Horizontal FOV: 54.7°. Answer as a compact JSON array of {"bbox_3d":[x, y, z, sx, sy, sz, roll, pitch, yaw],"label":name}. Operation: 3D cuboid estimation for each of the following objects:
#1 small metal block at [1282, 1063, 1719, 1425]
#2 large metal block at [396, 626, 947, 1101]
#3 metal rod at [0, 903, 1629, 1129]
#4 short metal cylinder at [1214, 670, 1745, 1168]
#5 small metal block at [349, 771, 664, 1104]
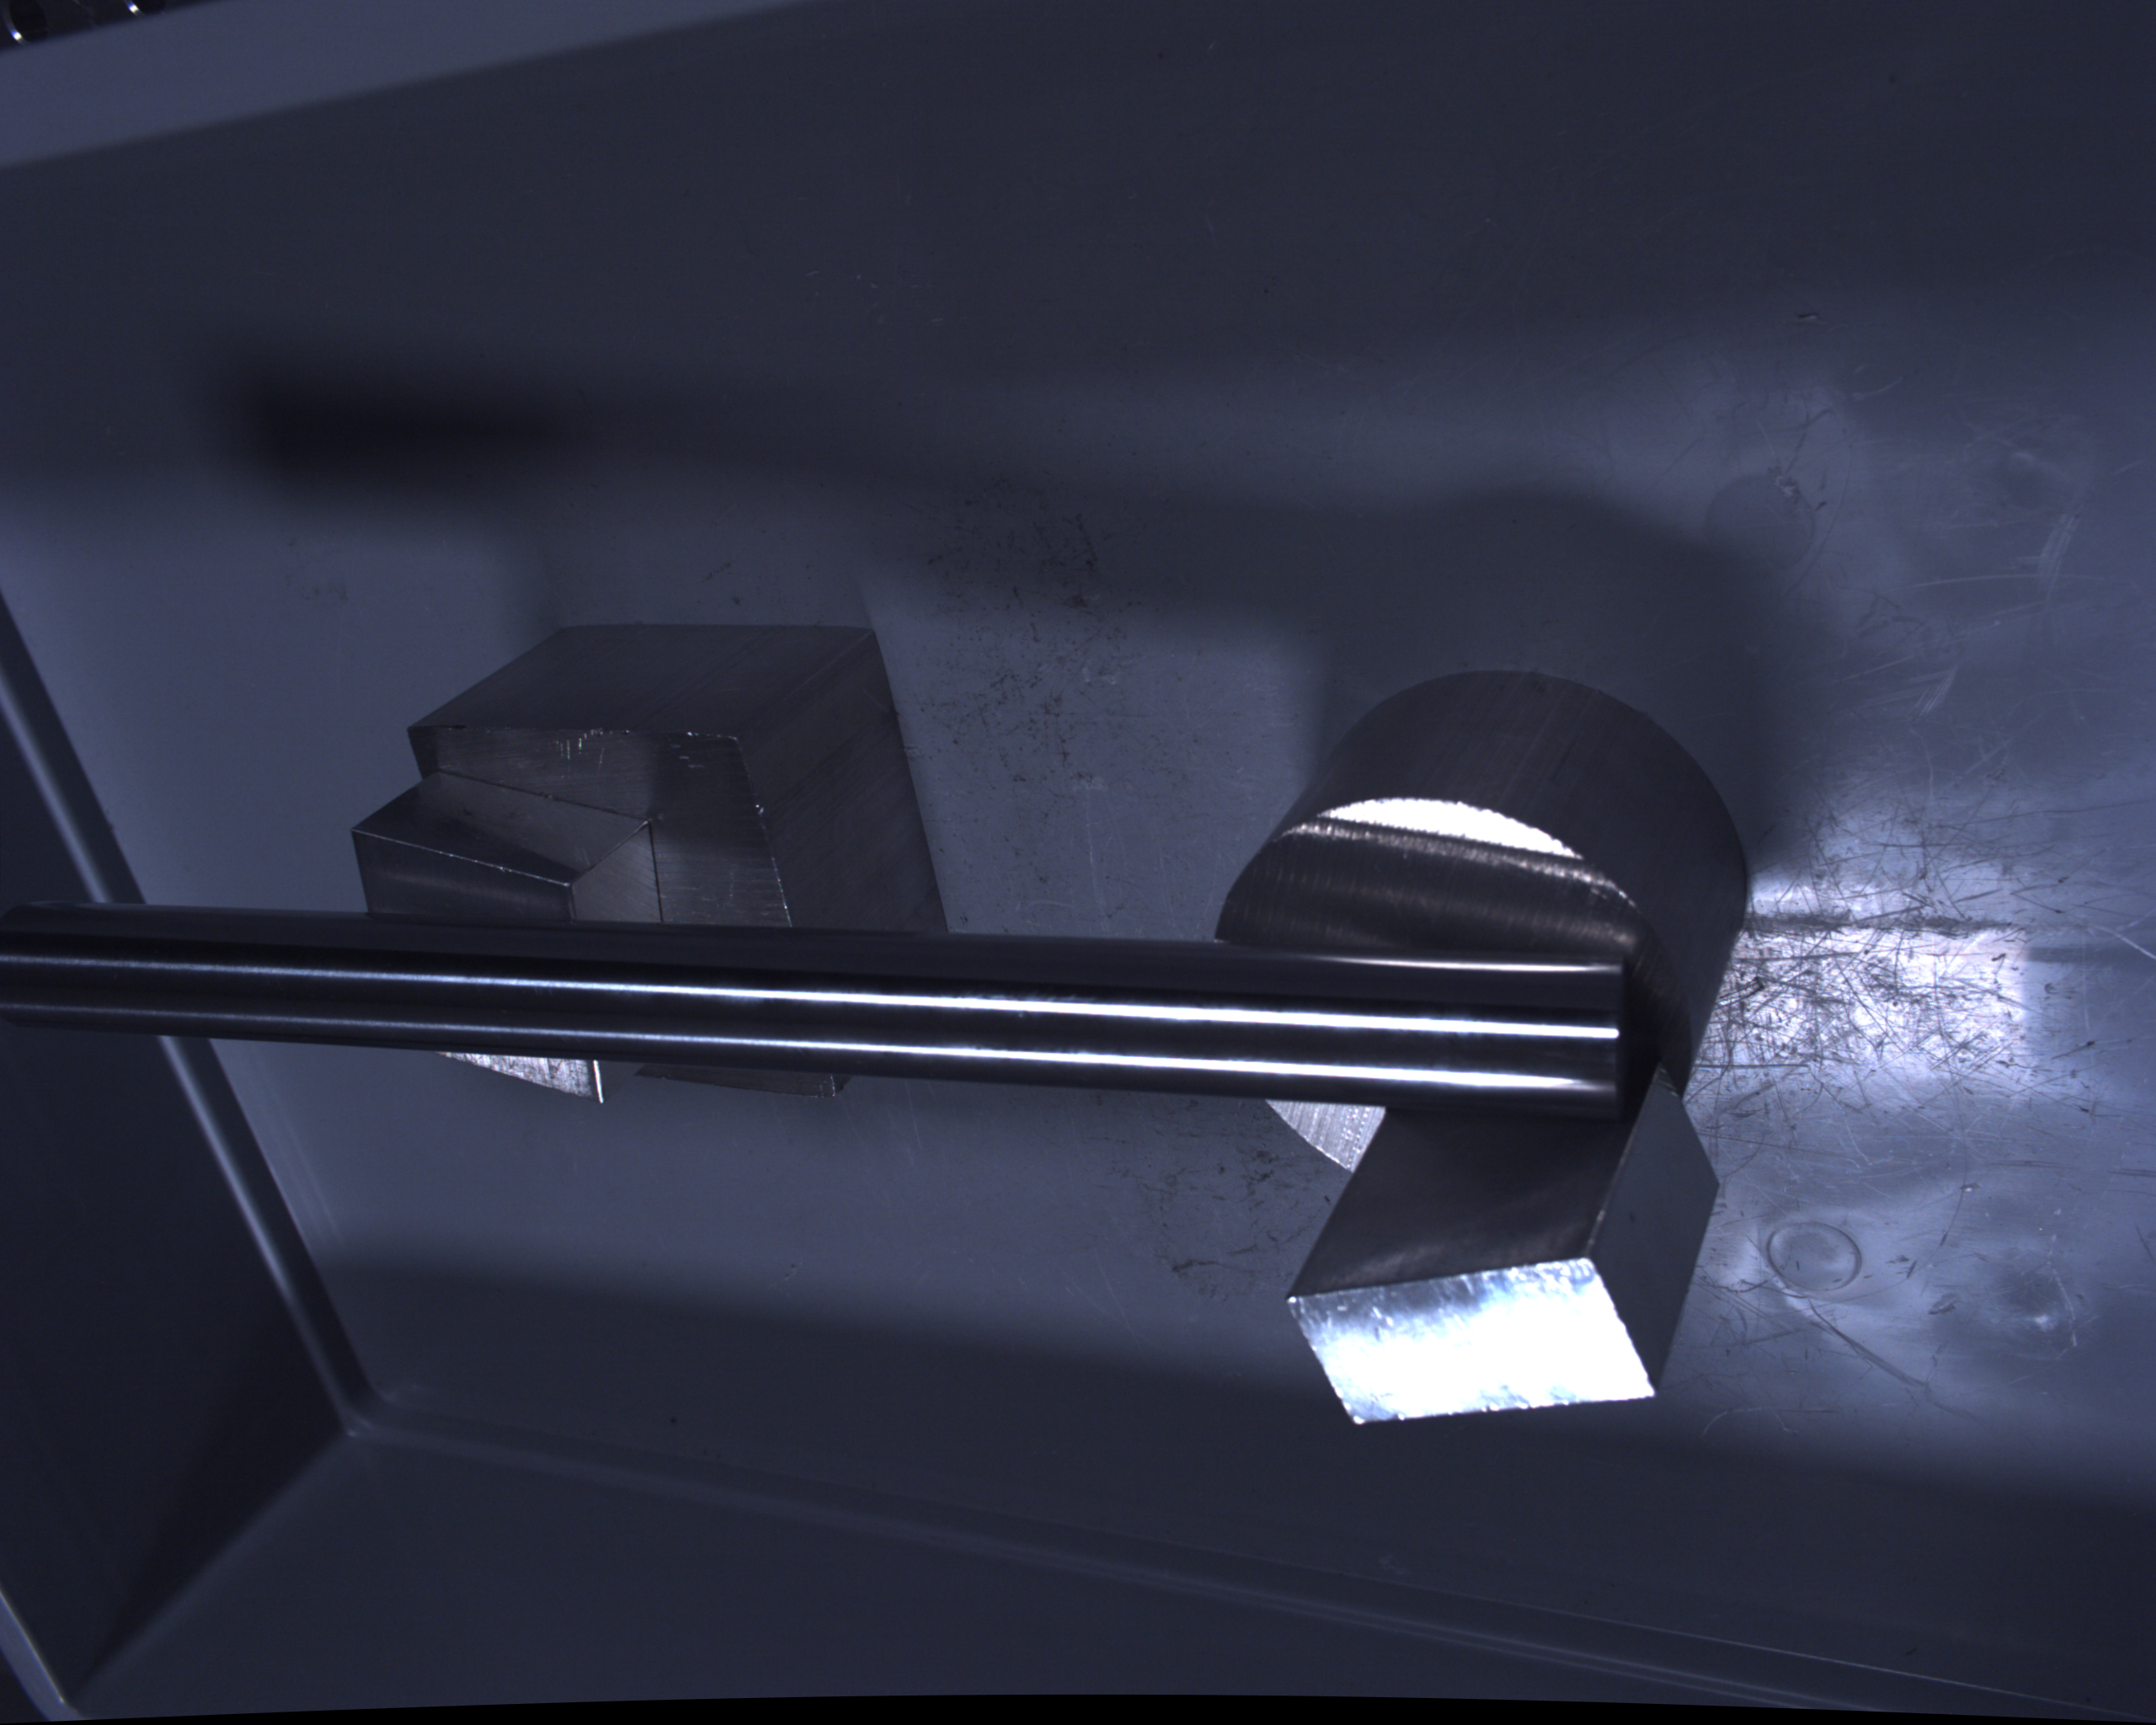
[{"bbox_3d":[0.067,0.059,0.325,0.050,0.050,0.025,-15,111,34],"label":"small metal block"},{"bbox_3d":[-0.080,-0.002,0.428,0.080,0.050,0.079,3,120,26],"label":"large metal block"},{"bbox_3d":[-0.061,0.024,0.361,0.301,0.025,0.025,1,119,18],"label":"metal rod"},{"bbox_3d":[0.070,0.013,0.361,0.080,0.050,0.079,13,124,20],"label":"short metal cylinder"},{"bbox_3d":[-0.109,0.014,0.406,0.050,0.025,0.050,12,123,21],"label":"small metal block"}]
